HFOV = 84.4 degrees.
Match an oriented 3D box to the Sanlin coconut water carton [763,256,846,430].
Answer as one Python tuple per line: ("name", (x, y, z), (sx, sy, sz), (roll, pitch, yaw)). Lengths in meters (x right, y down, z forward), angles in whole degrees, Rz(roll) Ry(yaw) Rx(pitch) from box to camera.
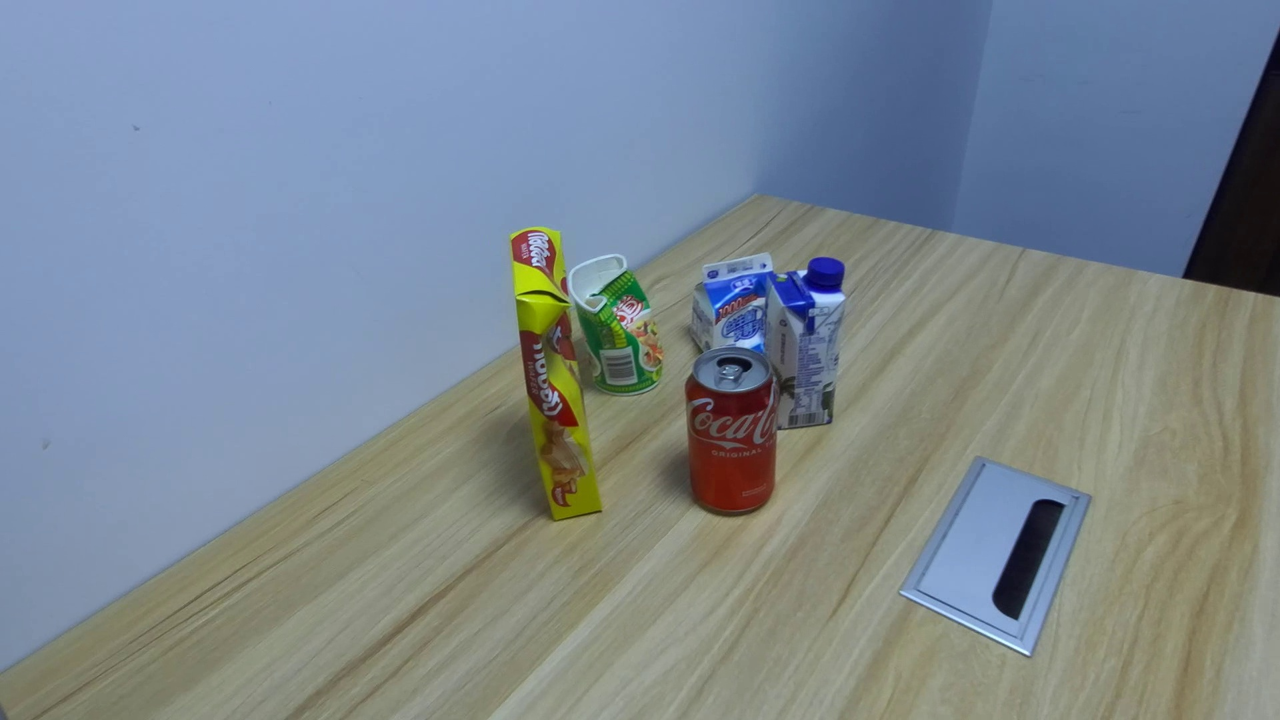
("Sanlin coconut water carton", (0.135, -0.014, 0.588), (0.061, 0.144, 0.060), (-9, 35, -4))

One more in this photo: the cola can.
("cola can", (0.069, 0.052, 0.524), (0.068, 0.120, 0.068), (-3, 34, 2))

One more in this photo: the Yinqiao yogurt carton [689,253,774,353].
("Yinqiao yogurt carton", (0.095, -0.054, 0.694), (0.077, 0.094, 0.071), (-11, 29, -10))

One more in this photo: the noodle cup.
("noodle cup", (-0.019, -0.031, 0.661), (0.083, 0.122, 0.075), (-39, 38, -26))

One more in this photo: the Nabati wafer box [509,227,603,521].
("Nabati wafer box", (-0.062, 0.015, 0.519), (0.042, 0.204, 0.106), (-9, 34, -7))
